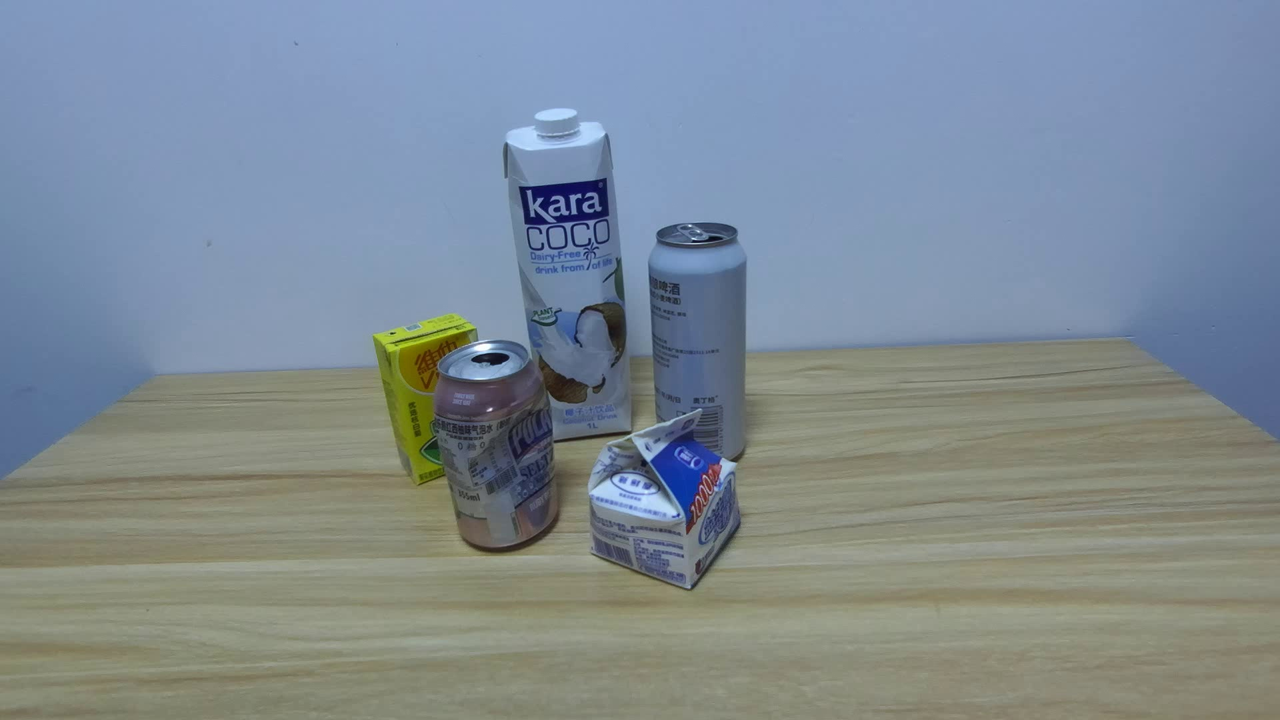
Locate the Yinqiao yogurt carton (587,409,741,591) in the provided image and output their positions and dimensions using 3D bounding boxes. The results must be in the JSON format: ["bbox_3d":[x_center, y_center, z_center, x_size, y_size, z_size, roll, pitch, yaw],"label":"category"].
[{"bbox_3d":[0.013,0.072,0.423,0.077,0.093,0.083,10,28,31],"label":"Yinqiao yogurt carton"}]

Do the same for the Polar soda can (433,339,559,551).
[{"bbox_3d":[-0.088,0.054,0.447,0.074,0.122,0.067,-14,26,-18],"label":"Polar soda can"}]

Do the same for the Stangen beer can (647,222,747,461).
[{"bbox_3d":[0.041,-0.009,0.500,0.067,0.171,0.067,-3,24,2],"label":"Stangen beer can"}]

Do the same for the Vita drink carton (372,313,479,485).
[{"bbox_3d":[-0.153,0.028,0.534,0.067,0.109,0.043,-17,28,-30],"label":"Vita drink carton"}]
